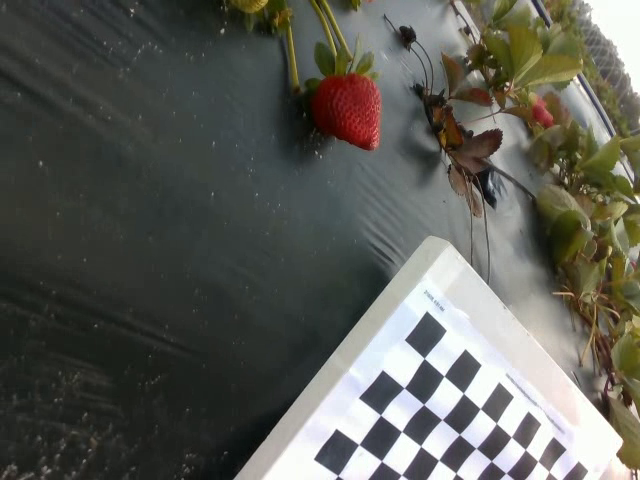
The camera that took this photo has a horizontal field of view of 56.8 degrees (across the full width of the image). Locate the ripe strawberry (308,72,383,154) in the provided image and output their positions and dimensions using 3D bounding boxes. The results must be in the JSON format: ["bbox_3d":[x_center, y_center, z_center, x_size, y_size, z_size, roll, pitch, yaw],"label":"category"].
[{"bbox_3d":[0.018,-0.069,0.322,0.045,0.042,0.055,-11,45,-21],"label":"ripe strawberry"}]
